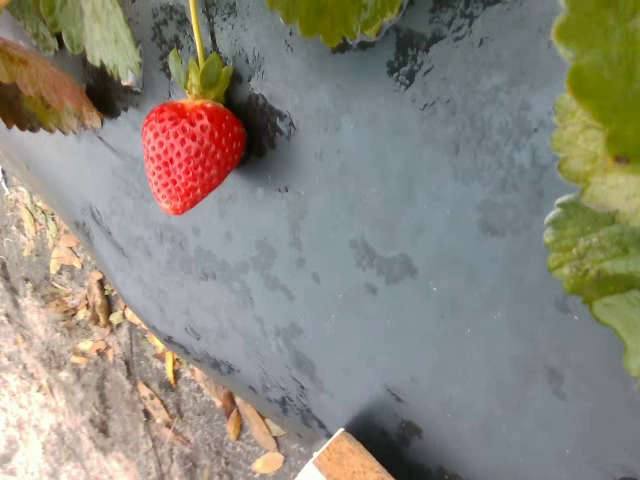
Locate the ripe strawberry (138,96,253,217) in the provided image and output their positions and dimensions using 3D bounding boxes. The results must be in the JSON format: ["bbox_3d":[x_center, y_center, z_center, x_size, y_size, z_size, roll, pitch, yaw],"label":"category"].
[{"bbox_3d":[-0.055,-0.035,0.255,0.048,0.054,0.045,14,-2,-30],"label":"ripe strawberry"}]
